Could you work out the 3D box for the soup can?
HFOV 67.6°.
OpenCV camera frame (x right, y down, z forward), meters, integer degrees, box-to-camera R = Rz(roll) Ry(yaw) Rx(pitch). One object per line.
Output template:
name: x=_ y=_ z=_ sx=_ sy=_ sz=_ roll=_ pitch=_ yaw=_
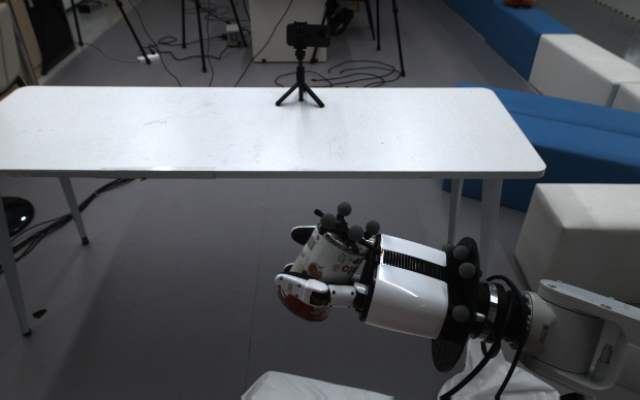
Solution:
soup can: x=0.004 y=0.081 z=0.564 sx=0.067 sy=0.101 sz=0.067 roll=27 pitch=18 yaw=-10
